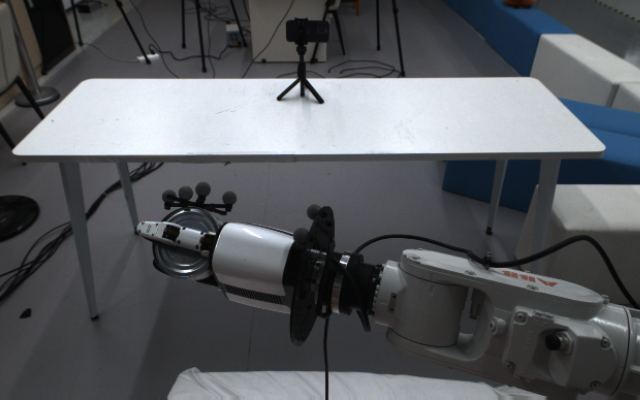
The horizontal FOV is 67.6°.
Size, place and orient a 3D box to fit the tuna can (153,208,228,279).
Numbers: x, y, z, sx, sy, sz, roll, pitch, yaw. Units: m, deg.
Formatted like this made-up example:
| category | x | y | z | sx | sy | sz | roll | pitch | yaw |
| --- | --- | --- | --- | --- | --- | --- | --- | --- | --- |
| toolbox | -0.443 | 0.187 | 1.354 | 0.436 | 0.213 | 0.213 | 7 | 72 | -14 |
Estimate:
| category | x | y | z | sx | sy | sz | roll | pitch | yaw |
| --- | --- | --- | --- | --- | --- | --- | --- | --- | --- |
| tuna can | -0.152 | 0.054 | 0.582 | 0.085 | 0.034 | 0.085 | -3 | 73 | 10 |
